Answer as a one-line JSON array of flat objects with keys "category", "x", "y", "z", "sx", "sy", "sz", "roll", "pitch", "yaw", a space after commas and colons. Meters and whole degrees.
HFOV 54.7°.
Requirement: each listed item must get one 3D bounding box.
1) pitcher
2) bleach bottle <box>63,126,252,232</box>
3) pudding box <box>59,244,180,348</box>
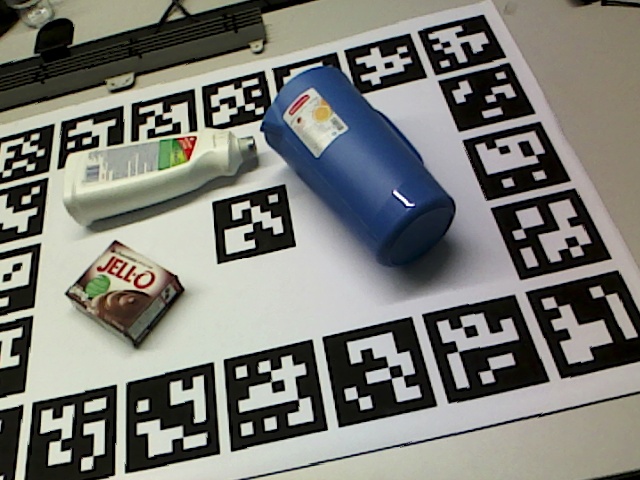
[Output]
[{"category": "pitcher", "x": 0.053, "y": -0.076, "z": 0.751, "sx": 0.188, "sy": 0.133, "sz": 0.244, "roll": -14, "pitch": 53, "yaw": -39}, {"category": "bleach bottle", "x": -0.215, "y": -0.093, "z": 0.840, "sx": 0.251, "sy": 0.067, "sz": 0.103, "roll": -15, "pitch": 60, "yaw": 0}, {"category": "pudding box", "x": -0.243, "y": 0.066, "z": 0.751, "sx": 0.114, "sy": 0.038, "sz": 0.090, "roll": 28, "pitch": 62, "yaw": 25}]
